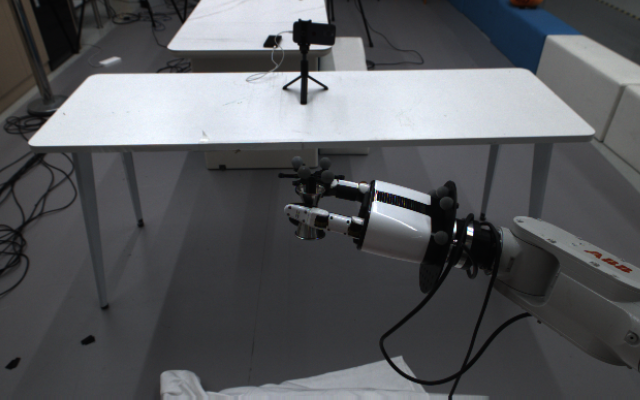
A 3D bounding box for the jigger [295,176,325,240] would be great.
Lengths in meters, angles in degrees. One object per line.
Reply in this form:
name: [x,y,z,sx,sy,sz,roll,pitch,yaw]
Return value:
jigger: [-0.014,0.015,0.674,0.043,0.071,0.043,1,20,0]
